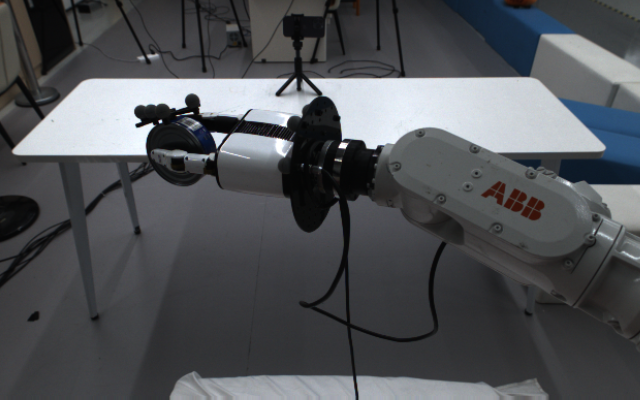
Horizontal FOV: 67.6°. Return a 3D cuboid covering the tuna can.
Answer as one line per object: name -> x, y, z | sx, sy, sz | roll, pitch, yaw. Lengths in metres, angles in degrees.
tuna can -> -0.173, -0.061, 0.622 | 0.085, 0.085, 0.034 | 13, 28, 15
